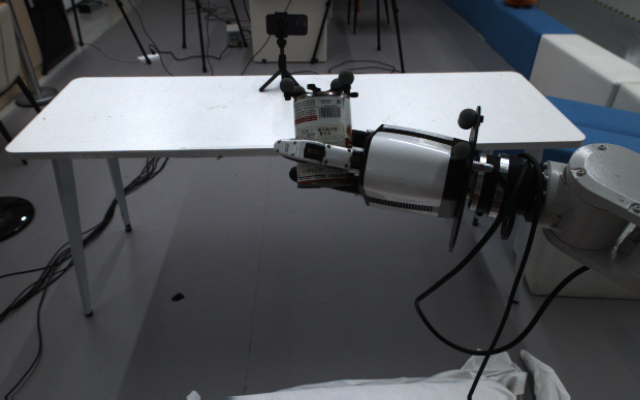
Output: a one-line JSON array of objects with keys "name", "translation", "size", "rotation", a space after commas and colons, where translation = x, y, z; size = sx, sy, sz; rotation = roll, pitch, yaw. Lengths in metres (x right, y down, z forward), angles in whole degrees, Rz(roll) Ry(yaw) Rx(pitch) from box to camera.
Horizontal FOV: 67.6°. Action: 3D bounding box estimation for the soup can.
[{"name": "soup can", "translation": [0.006, -0.065, 0.555], "size": [0.067, 0.101, 0.067], "rotation": [-3, -1, 0]}]
